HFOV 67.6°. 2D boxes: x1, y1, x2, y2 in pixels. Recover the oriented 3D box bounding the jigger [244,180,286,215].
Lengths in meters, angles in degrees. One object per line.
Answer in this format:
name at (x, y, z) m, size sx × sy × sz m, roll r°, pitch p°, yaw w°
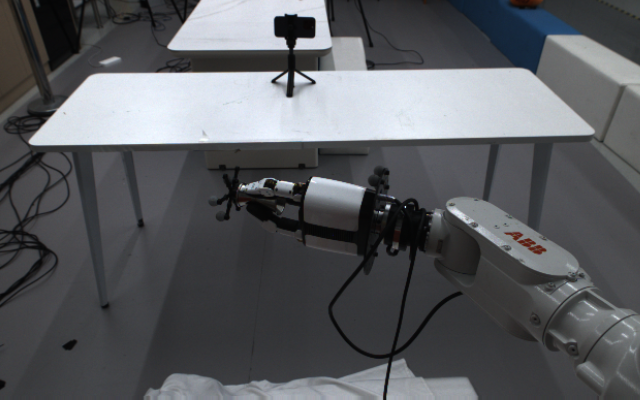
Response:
jigger at (-0.087, -0.008, 0.757) m, size 0.071 × 0.043 × 0.043 m, roll 10°, pitch 35°, yaw 16°
